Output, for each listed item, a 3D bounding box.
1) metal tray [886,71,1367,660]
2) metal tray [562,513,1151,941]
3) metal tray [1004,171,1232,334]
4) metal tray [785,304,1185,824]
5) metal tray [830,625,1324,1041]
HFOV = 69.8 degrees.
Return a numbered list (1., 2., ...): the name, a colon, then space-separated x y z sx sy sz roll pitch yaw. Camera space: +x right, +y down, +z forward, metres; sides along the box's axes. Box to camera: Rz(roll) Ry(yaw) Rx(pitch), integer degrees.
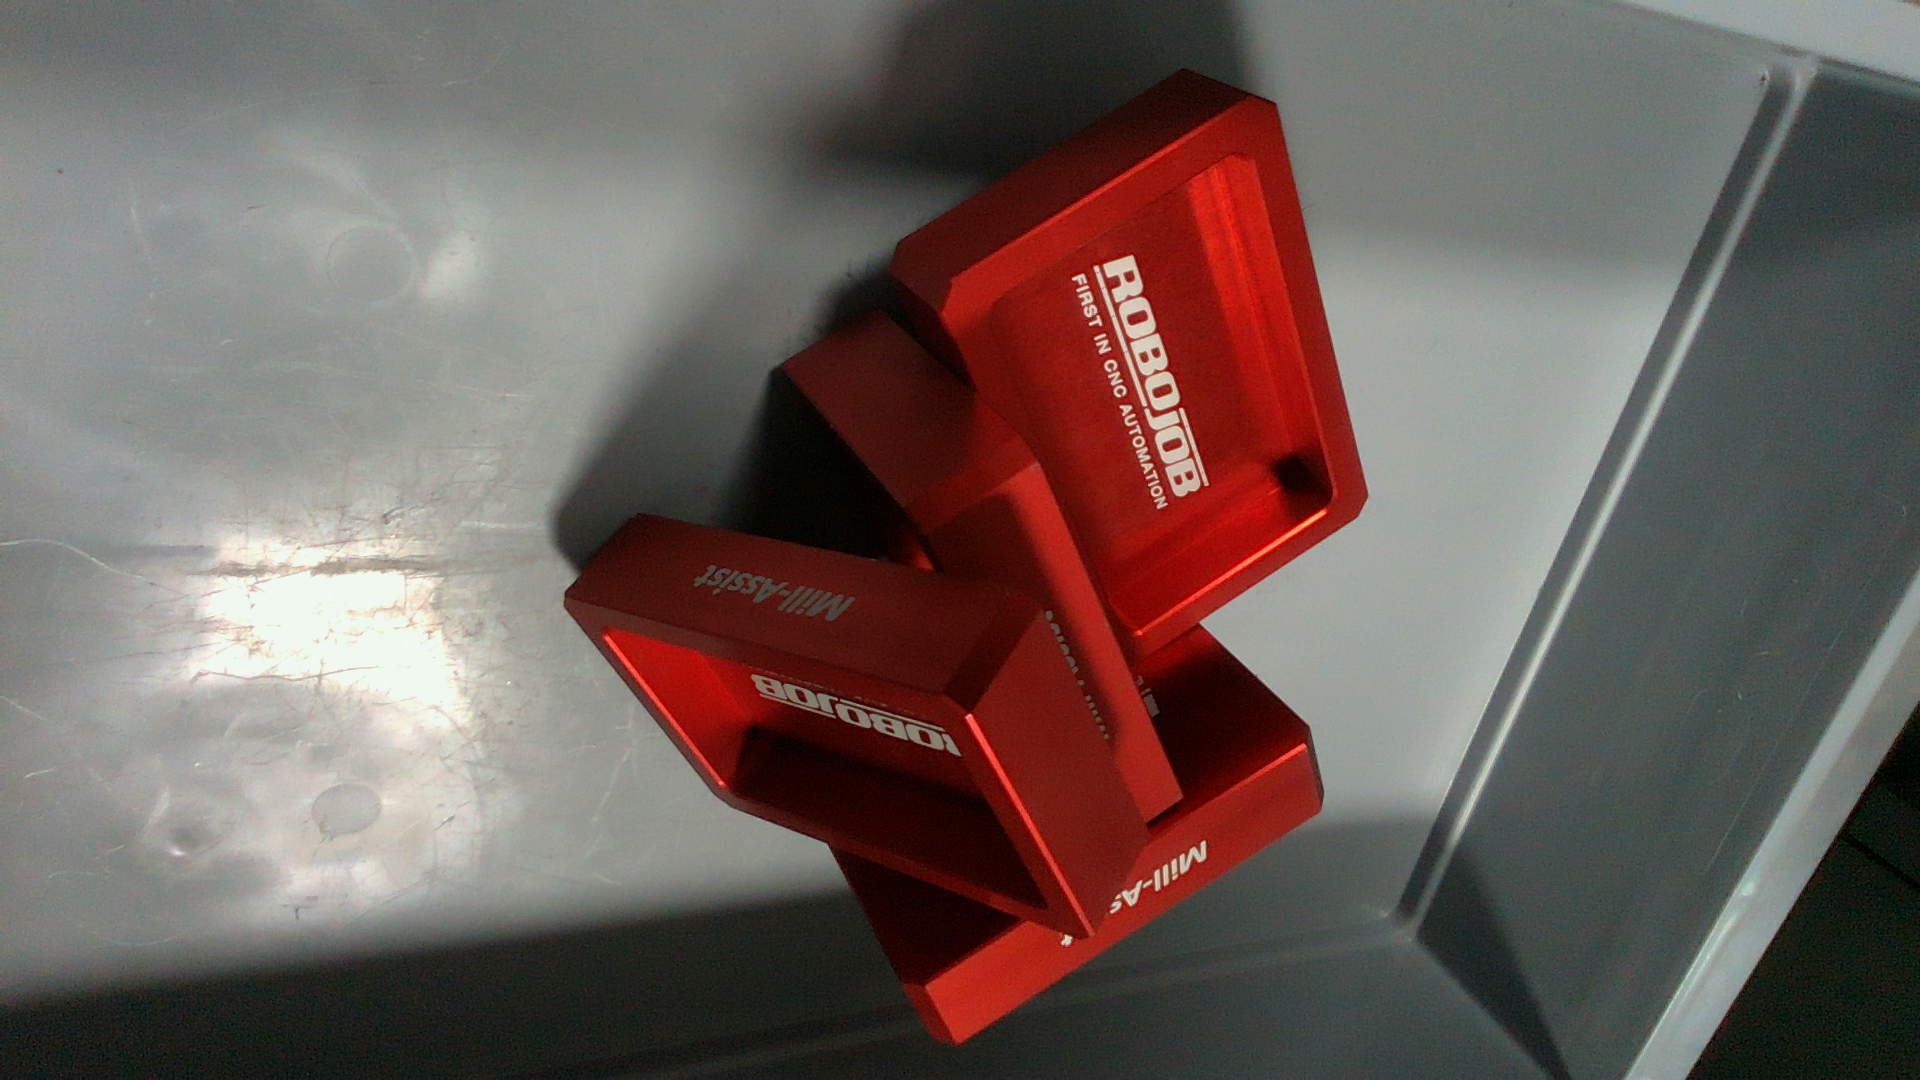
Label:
1. metal tray: 0.048 -0.037 0.348 0.090 0.030 0.130 -32 128 -7
2. metal tray: -0.027 0.043 0.334 0.030 0.129 0.090 -54 136 -30
3. metal tray: 0.056 -0.038 0.393 0.090 0.030 0.130 -29 127 -8
4. metal tray: 0.007 0.012 0.356 0.030 0.090 0.130 -32 129 -7
5. metal tray: 0.028 0.074 0.406 0.130 0.090 0.030 -29 128 -10
